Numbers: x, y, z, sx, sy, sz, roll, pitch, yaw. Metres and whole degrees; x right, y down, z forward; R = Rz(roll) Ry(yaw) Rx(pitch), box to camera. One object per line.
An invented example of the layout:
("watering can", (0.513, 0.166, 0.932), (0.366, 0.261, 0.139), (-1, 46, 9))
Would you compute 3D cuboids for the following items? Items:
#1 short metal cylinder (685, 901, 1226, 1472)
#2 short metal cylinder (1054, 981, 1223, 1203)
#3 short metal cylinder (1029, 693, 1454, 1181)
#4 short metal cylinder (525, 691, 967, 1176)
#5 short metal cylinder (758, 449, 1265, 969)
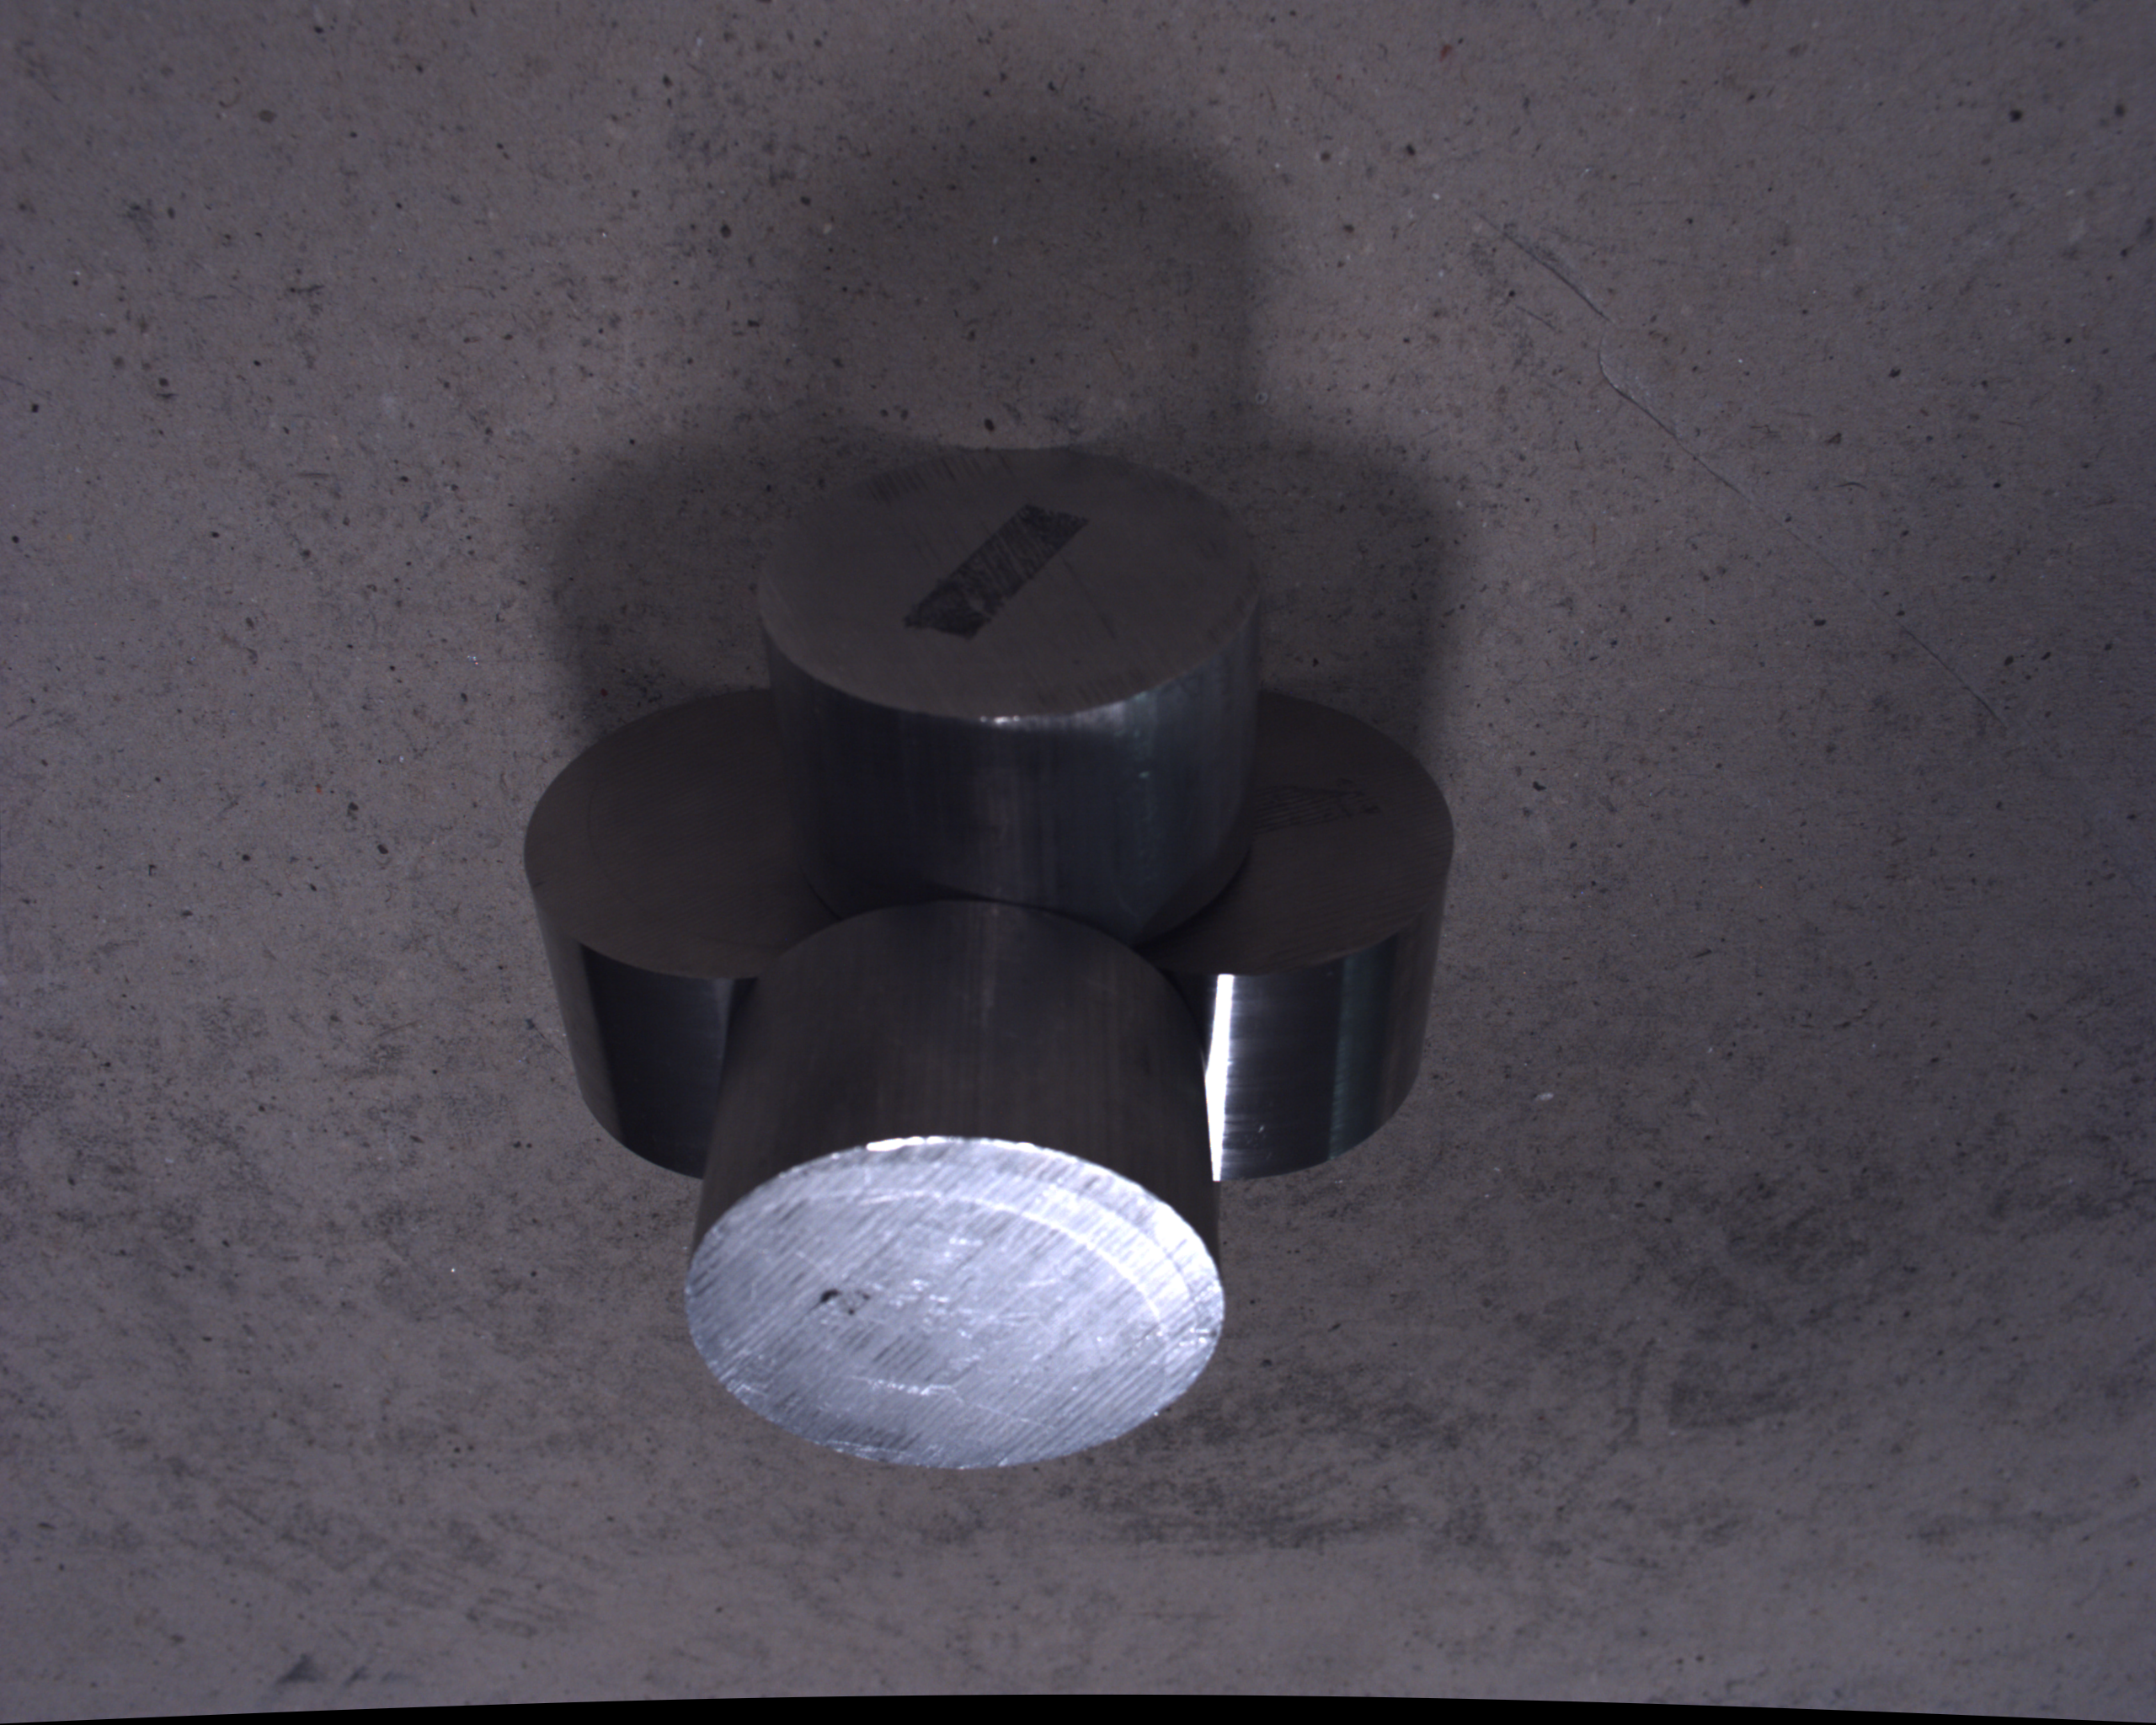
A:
("short metal cylinder", (-0.018, 0.052, 0.331), (0.081, 0.050, 0.079), (0, 130, 0))
("short metal cylinder", (-0.011, 0.050, 0.415), (0.081, 0.080, 0.050), (0, 130, -1))
("short metal cylinder", (0.026, 0.012, 0.383), (0.081, 0.080, 0.050), (0, 130, 0))
("short metal cylinder", (-0.056, 0.012, 0.382), (0.081, 0.080, 0.050), (-1, 130, 0))
("short metal cylinder", (-0.010, -0.027, 0.349), (0.081, 0.080, 0.050), (-1, 130, 0))
